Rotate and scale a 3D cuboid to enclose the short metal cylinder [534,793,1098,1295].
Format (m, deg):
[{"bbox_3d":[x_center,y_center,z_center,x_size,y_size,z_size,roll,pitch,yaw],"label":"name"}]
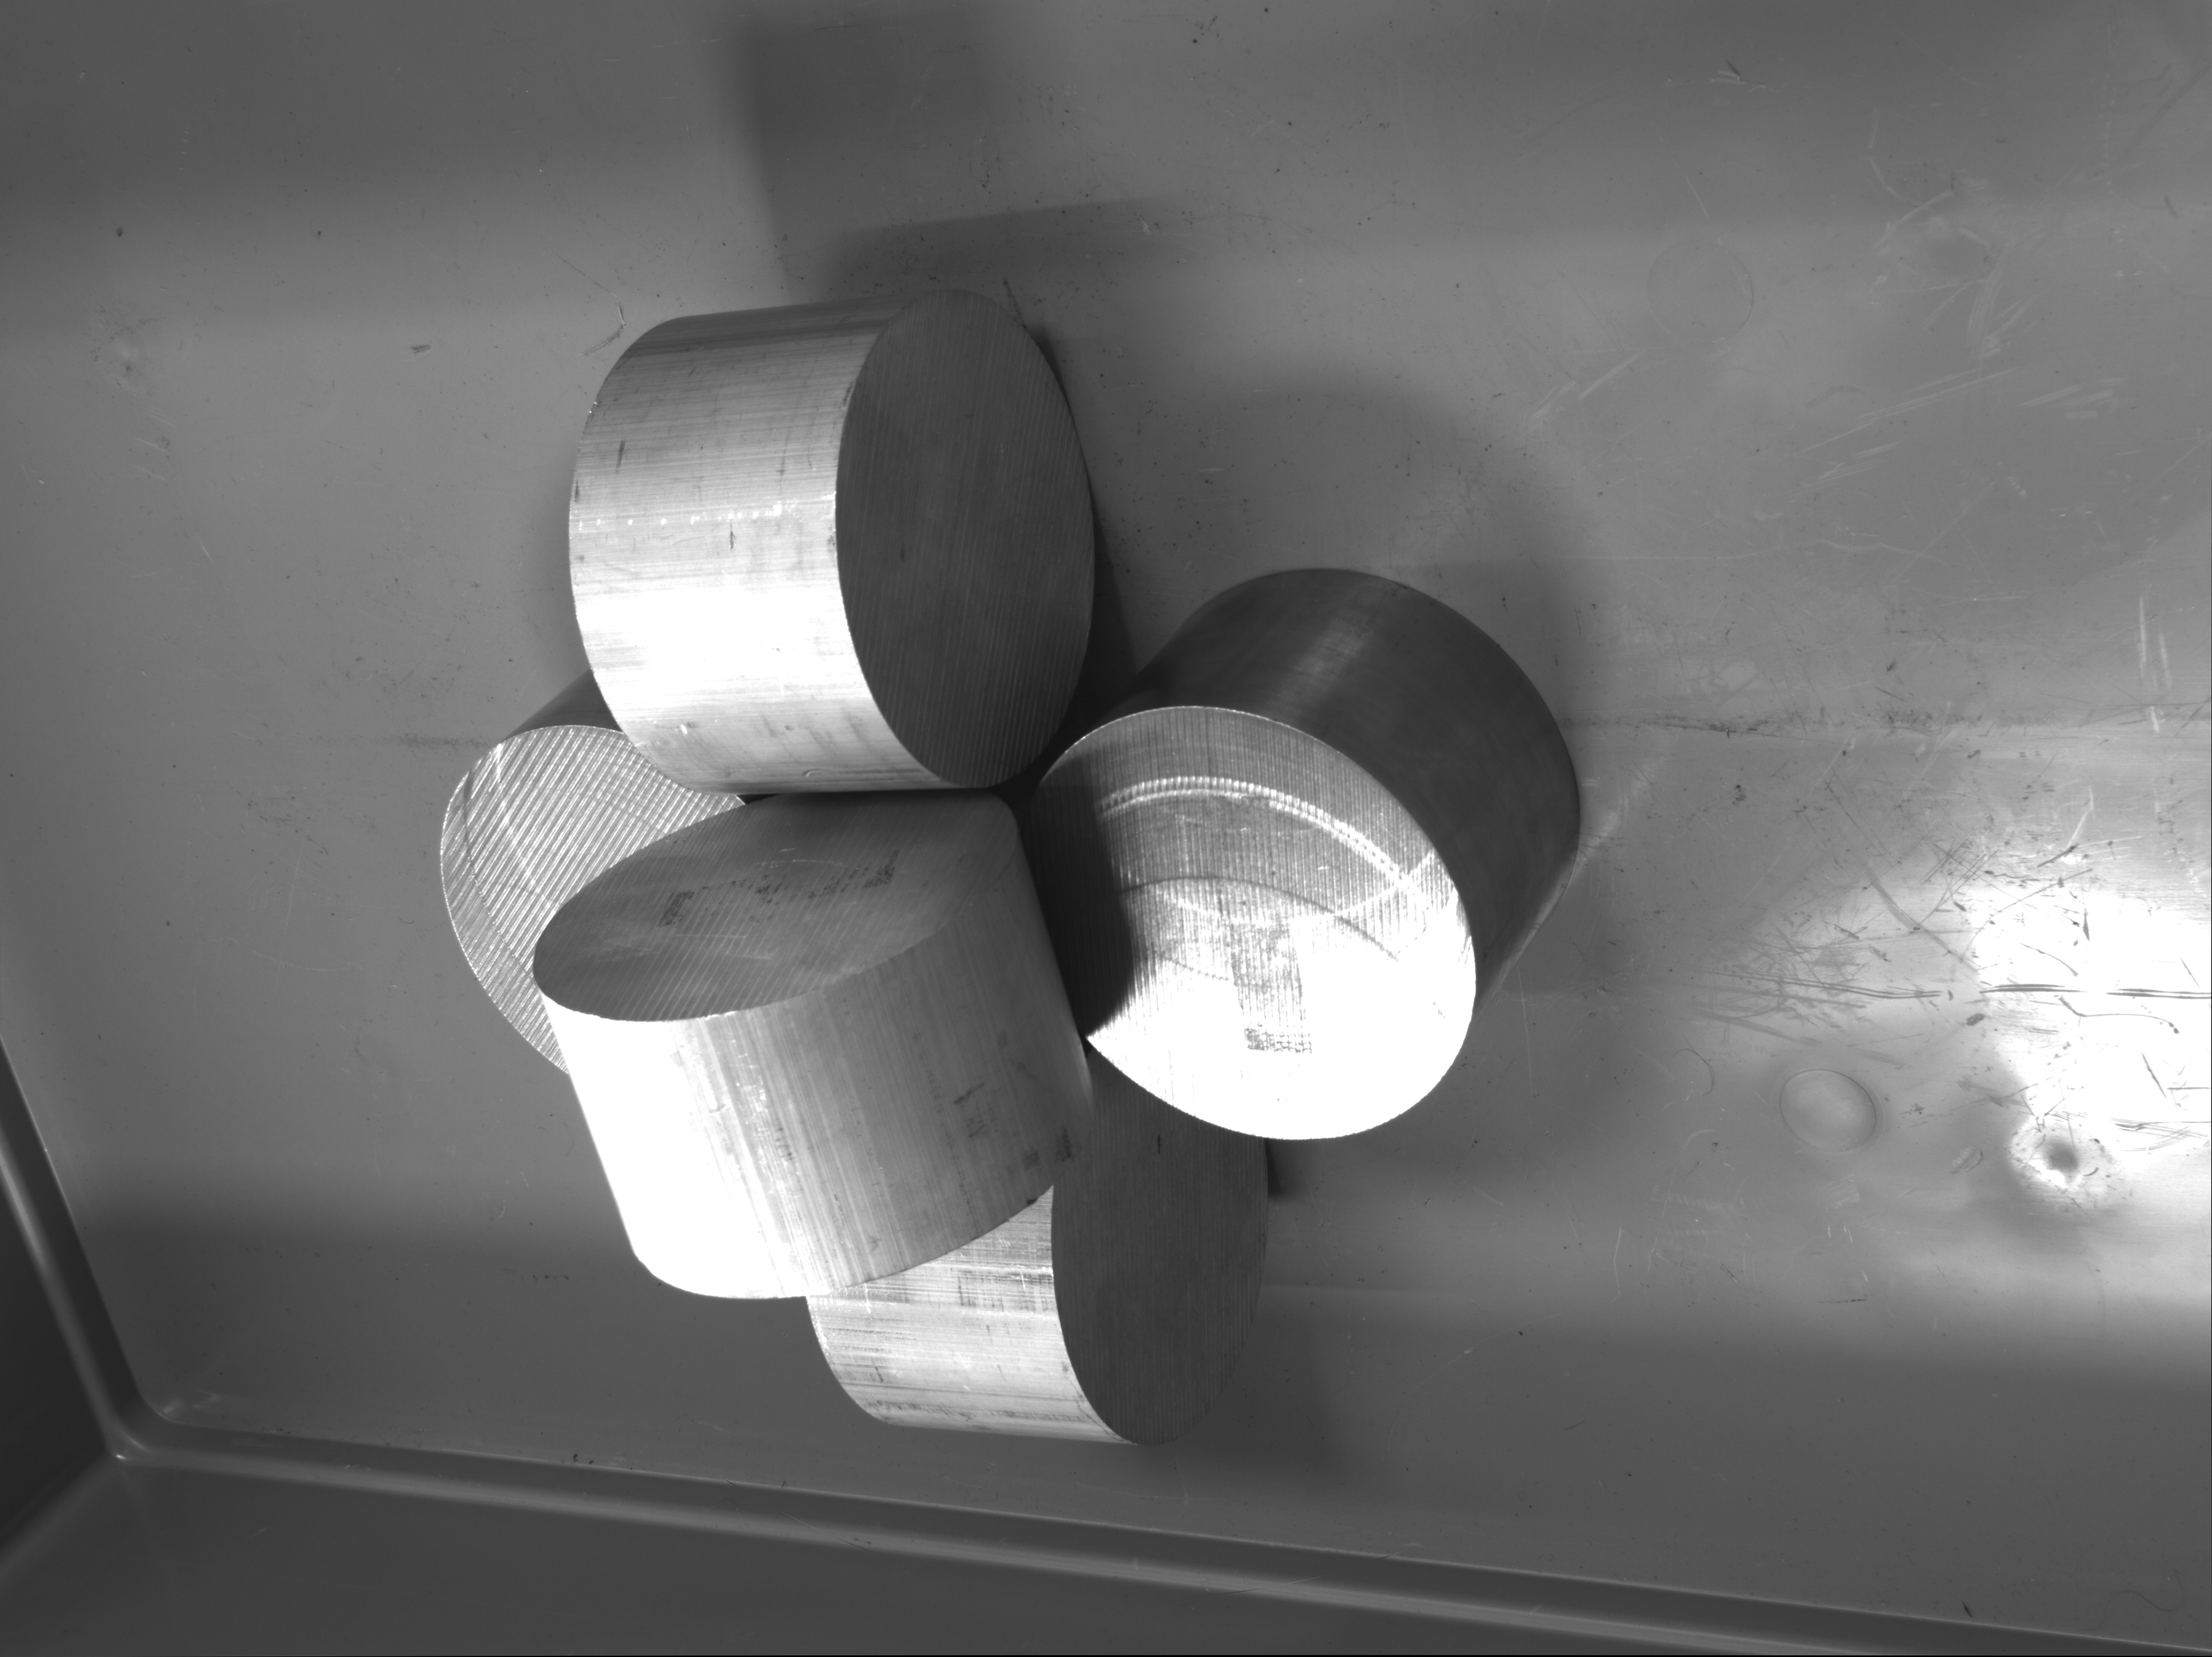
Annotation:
[{"bbox_3d":[-0.046,0.032,0.592,0.080,0.080,0.050,-1,117,29],"label":"short metal cylinder"}]

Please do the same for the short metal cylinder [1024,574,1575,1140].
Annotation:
[{"bbox_3d":[0.032,0.005,0.610,0.080,0.050,0.080,13,124,21],"label":"short metal cylinder"}]

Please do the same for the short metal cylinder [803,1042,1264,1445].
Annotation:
[{"bbox_3d":[-0.012,0.068,0.653,0.050,0.080,0.080,-2,117,29],"label":"short metal cylinder"}]

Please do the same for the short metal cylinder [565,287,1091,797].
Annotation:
[{"bbox_3d":[-0.044,-0.046,0.600,0.050,0.080,0.080,-2,117,29],"label":"short metal cylinder"}]

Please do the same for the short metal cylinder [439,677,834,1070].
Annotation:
[{"bbox_3d":[-0.073,0.006,0.667,0.080,0.050,0.080,13,124,21],"label":"short metal cylinder"}]
